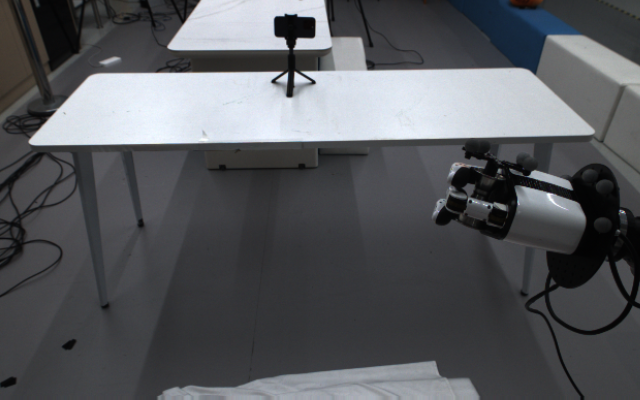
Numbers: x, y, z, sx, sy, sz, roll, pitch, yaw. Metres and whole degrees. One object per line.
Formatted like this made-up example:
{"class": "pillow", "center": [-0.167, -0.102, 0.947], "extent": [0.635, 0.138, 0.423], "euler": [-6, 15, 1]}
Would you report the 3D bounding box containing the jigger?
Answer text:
{"class": "jigger", "center": [0.202, -0.003, 0.609], "extent": [0.043, 0.071, 0.043], "euler": [15, 17, -5]}
